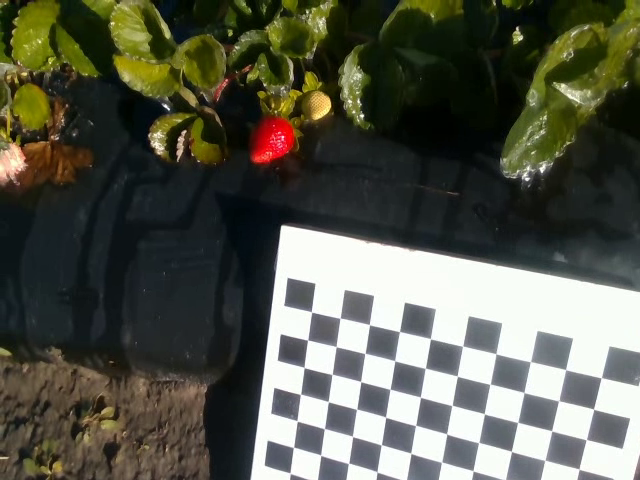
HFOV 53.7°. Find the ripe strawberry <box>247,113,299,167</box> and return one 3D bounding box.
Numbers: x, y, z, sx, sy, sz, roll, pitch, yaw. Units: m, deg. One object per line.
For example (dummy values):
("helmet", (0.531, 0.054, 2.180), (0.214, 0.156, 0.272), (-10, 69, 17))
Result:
("ripe strawberry", (-0.033, -0.059, 0.399), (0.039, 0.040, 0.039), (3, 36, 27))
